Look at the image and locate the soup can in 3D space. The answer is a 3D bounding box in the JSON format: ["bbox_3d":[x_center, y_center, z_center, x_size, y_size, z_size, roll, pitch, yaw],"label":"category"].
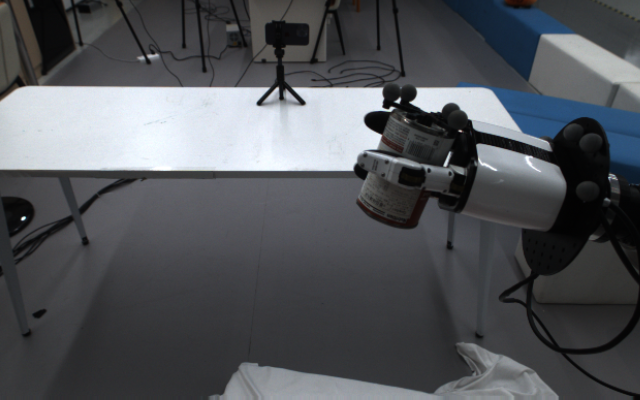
[{"bbox_3d":[0.087,-0.032,0.485,0.067,0.101,0.067,16,21,-7],"label":"soup can"}]
